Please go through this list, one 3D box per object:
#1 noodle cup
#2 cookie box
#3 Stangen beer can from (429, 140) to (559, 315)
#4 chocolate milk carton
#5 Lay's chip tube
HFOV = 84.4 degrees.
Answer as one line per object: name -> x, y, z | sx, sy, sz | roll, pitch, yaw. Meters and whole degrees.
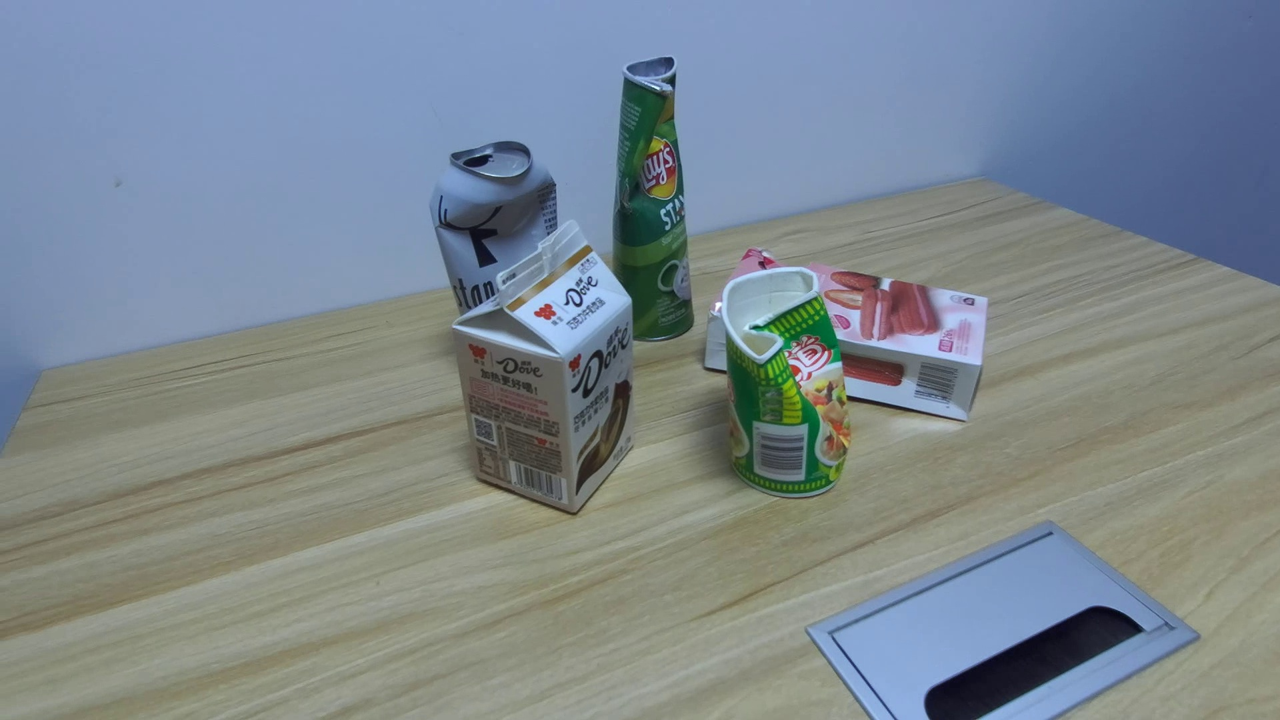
noodle cup -> 0.087, 0.015, 0.408 | 0.083, 0.122, 0.075 | -27, 32, -19
cookie box -> 0.151, -0.021, 0.516 | 0.185, 0.059, 0.105 | 16, 41, 19
Stangen beer can -> -0.094, -0.064, 0.498 | 0.065, 0.162, 0.077 | 5, 33, 11
chocolate milk carton -> -0.052, 0.001, 0.405 | 0.074, 0.148, 0.075 | 16, 35, 23
Lay's chip tube -> 0.009, -0.116, 0.534 | 0.069, 0.201, 0.077 | -13, 36, -16
